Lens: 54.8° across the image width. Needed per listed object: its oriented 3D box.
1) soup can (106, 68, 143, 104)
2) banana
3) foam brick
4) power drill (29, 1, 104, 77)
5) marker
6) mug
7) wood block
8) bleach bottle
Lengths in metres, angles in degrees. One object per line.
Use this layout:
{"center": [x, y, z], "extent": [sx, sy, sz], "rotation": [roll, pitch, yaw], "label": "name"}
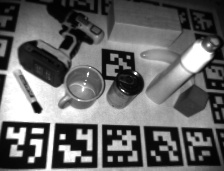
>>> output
{"center": [0.028, -0.002, 0.542], "extent": [0.068, 0.102, 0.067], "rotation": [8, 61, -14], "label": "soup can"}
{"center": [0.171, -0.100, 0.667], "extent": [0.198, 0.038, 0.074], "rotation": [19, 77, -10], "label": "banana"}
{"center": [0.221, 0.034, 0.607], "extent": [0.052, 0.078, 0.051], "rotation": [34, 61, 3], "label": "foam brick"}
{"center": [-0.135, -0.129, 0.586], "extent": [0.185, 0.057, 0.187], "rotation": [32, 61, -5], "label": "power drill"}
{"center": [-0.201, 0.009, 0.525], "extent": [0.020, 0.019, 0.120], "rotation": [-27, 78, -22], "label": "marker"}
{"center": [-0.081, 0.001, 0.526], "extent": [0.093, 0.081, 0.118], "rotation": [44, 66, 3], "label": "mug"}
{"center": [0.095, -0.196, 0.661], "extent": [0.208, 0.090, 0.089], "rotation": [3, 68, -15], "label": "wood block"}
{"center": [0.164, -0.048, 0.526], "extent": [0.068, 0.250, 0.103], "rotation": [30, 62, 0], "label": "bleach bottle"}
